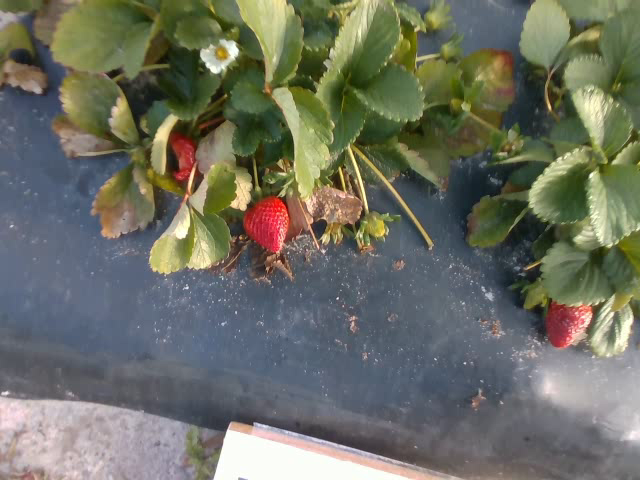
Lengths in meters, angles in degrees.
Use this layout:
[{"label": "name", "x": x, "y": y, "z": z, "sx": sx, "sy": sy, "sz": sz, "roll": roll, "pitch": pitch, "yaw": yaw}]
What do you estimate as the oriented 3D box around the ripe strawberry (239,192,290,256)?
[{"label": "ripe strawberry", "x": -0.029, "y": -0.006, "z": 0.307, "sx": 0.032, "sy": 0.030, "sz": 0.025, "roll": -22, "pitch": -14, "yaw": 2}]
